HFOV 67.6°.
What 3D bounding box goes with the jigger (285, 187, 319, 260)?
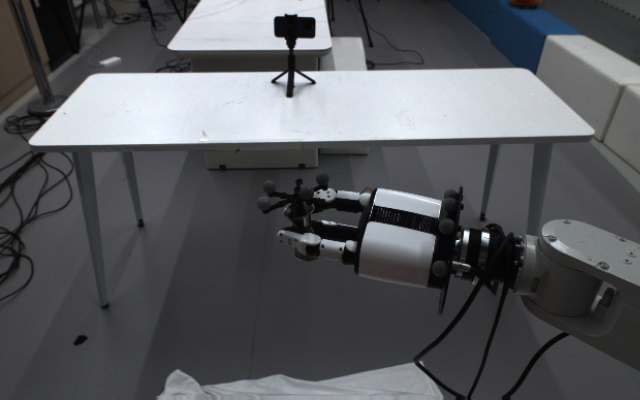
[{"bbox_3d":[-0.019,0.040,0.630,0.043,0.071,0.043,-10,32,6],"label":"jigger"}]
